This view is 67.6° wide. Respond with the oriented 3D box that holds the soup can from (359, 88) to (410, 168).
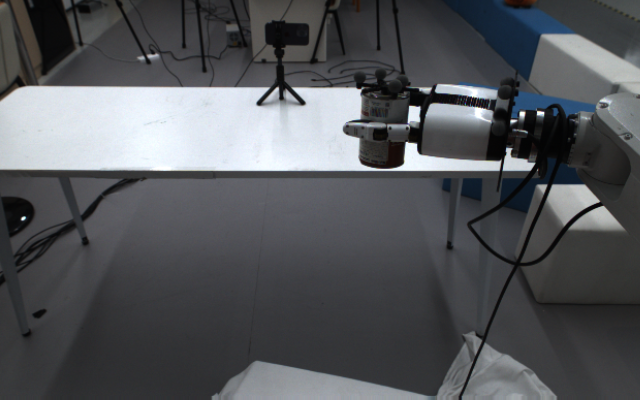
[{"bbox_3d":[0.090,-0.103,0.686,0.067,0.101,0.067,1,25,-1],"label":"soup can"}]
